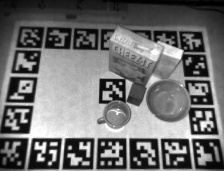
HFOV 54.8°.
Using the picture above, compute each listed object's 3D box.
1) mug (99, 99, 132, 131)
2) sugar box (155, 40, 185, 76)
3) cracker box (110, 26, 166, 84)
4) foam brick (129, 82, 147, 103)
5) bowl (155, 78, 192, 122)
[{"bbox_3d":[0.011,0.107,0.743,0.117,0.082,0.093,-8,62,-3],"label":"mug"},{"bbox_3d":[0.191,-0.100,0.778,0.092,0.177,0.045,21,71,7],"label":"sugar box"},{"bbox_3d":[0.081,-0.095,0.753,0.163,0.214,0.072,29,70,8],"label":"cracker box"},{"bbox_3d":[0.094,0.025,0.787,0.052,0.078,0.051,15,70,5],"label":"foam brick"},{"bbox_3d":[0.216,0.055,0.778,0.162,0.055,0.161,1,71,-2],"label":"bowl"}]
